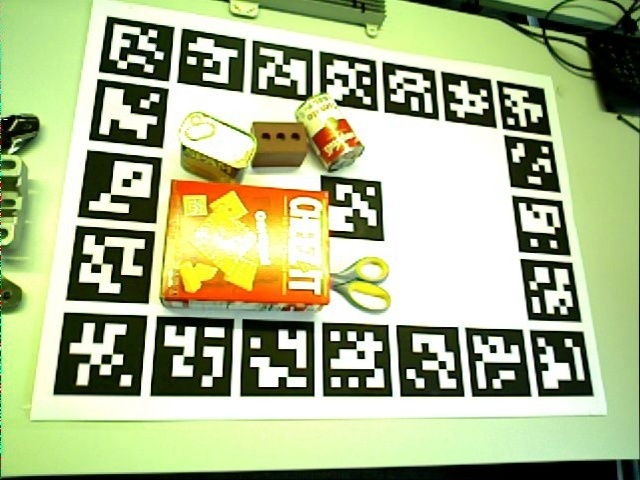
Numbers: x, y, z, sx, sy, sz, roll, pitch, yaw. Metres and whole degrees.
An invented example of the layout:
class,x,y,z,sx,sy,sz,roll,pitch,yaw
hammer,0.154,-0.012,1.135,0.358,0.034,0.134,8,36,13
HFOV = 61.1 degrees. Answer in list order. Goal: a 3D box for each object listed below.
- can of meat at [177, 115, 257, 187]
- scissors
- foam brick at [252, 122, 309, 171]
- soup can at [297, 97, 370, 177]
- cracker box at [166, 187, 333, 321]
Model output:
class,x,y,z,sx,sy,sz,roll,pitch,yaw
can of meat,-0.146,-0.120,0.752,0.101,0.085,0.057,18,70,-10
scissors,0.009,0.068,0.764,0.200,0.016,0.087,0,75,-14
foam brick,-0.059,-0.137,0.801,0.077,0.052,0.052,-6,76,-17
soup can,0.020,-0.157,0.826,0.067,0.069,0.102,-34,79,-22
cracker box,-0.093,0.016,0.719,0.211,0.073,0.163,-2,74,-11
